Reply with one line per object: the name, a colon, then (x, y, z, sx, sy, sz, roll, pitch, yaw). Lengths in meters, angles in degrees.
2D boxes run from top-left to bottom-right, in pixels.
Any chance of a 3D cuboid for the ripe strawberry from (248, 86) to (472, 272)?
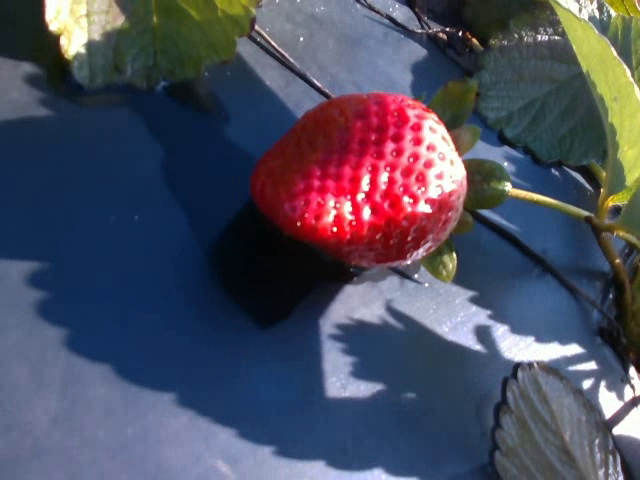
ripe strawberry: (0.006, -0.010, 0.116, 0.045, 0.041, 0.056, 5, 19, 38)
